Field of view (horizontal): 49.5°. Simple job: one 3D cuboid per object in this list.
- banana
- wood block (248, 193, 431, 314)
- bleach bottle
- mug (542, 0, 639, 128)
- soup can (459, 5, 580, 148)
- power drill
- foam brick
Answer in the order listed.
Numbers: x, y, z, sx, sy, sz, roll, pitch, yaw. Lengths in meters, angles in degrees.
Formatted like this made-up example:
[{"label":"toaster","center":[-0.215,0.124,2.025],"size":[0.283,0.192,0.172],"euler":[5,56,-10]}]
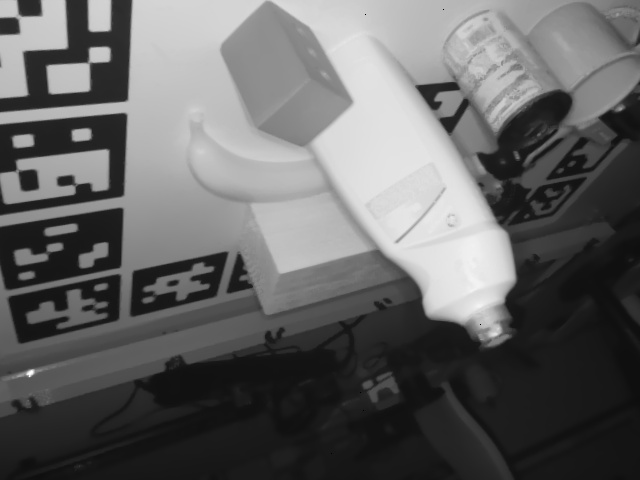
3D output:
[{"label":"banana","center":[-0.021,-0.059,0.636],"size":[0.200,0.039,0.073],"euler":[2,126,-35]},{"label":"wood block","center":[0.041,-0.003,0.725],"size":[0.209,0.091,0.088],"euler":[-11,146,-23]},{"label":"bleach bottle","center":[0.071,-0.045,0.520],"size":[0.069,0.251,0.101],"euler":[13,134,-47]},{"label":"mug","center":[0.261,-0.170,0.632],"size":[0.116,0.081,0.094],"euler":[-38,146,14]},{"label":"soup can","center":[0.167,-0.138,0.583],"size":[0.068,0.102,0.067],"euler":[-17,152,-8]},{"label":"power drill","center":[0.265,-0.106,0.772],"size":[0.187,0.057,0.184],"euler":[15,132,-44]},{"label":"foam brick","center":[-0.022,-0.129,0.497],"size":[0.051,0.078,0.053],"euler":[-38,149,25]}]
